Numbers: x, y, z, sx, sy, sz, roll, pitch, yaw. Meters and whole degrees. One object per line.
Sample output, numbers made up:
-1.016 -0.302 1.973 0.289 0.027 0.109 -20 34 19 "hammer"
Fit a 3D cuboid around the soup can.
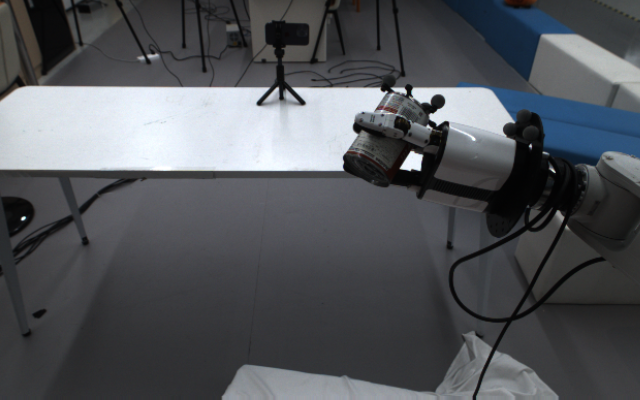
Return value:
0.083 -0.078 0.611 0.067 0.067 0.101 27 76 31 "soup can"
